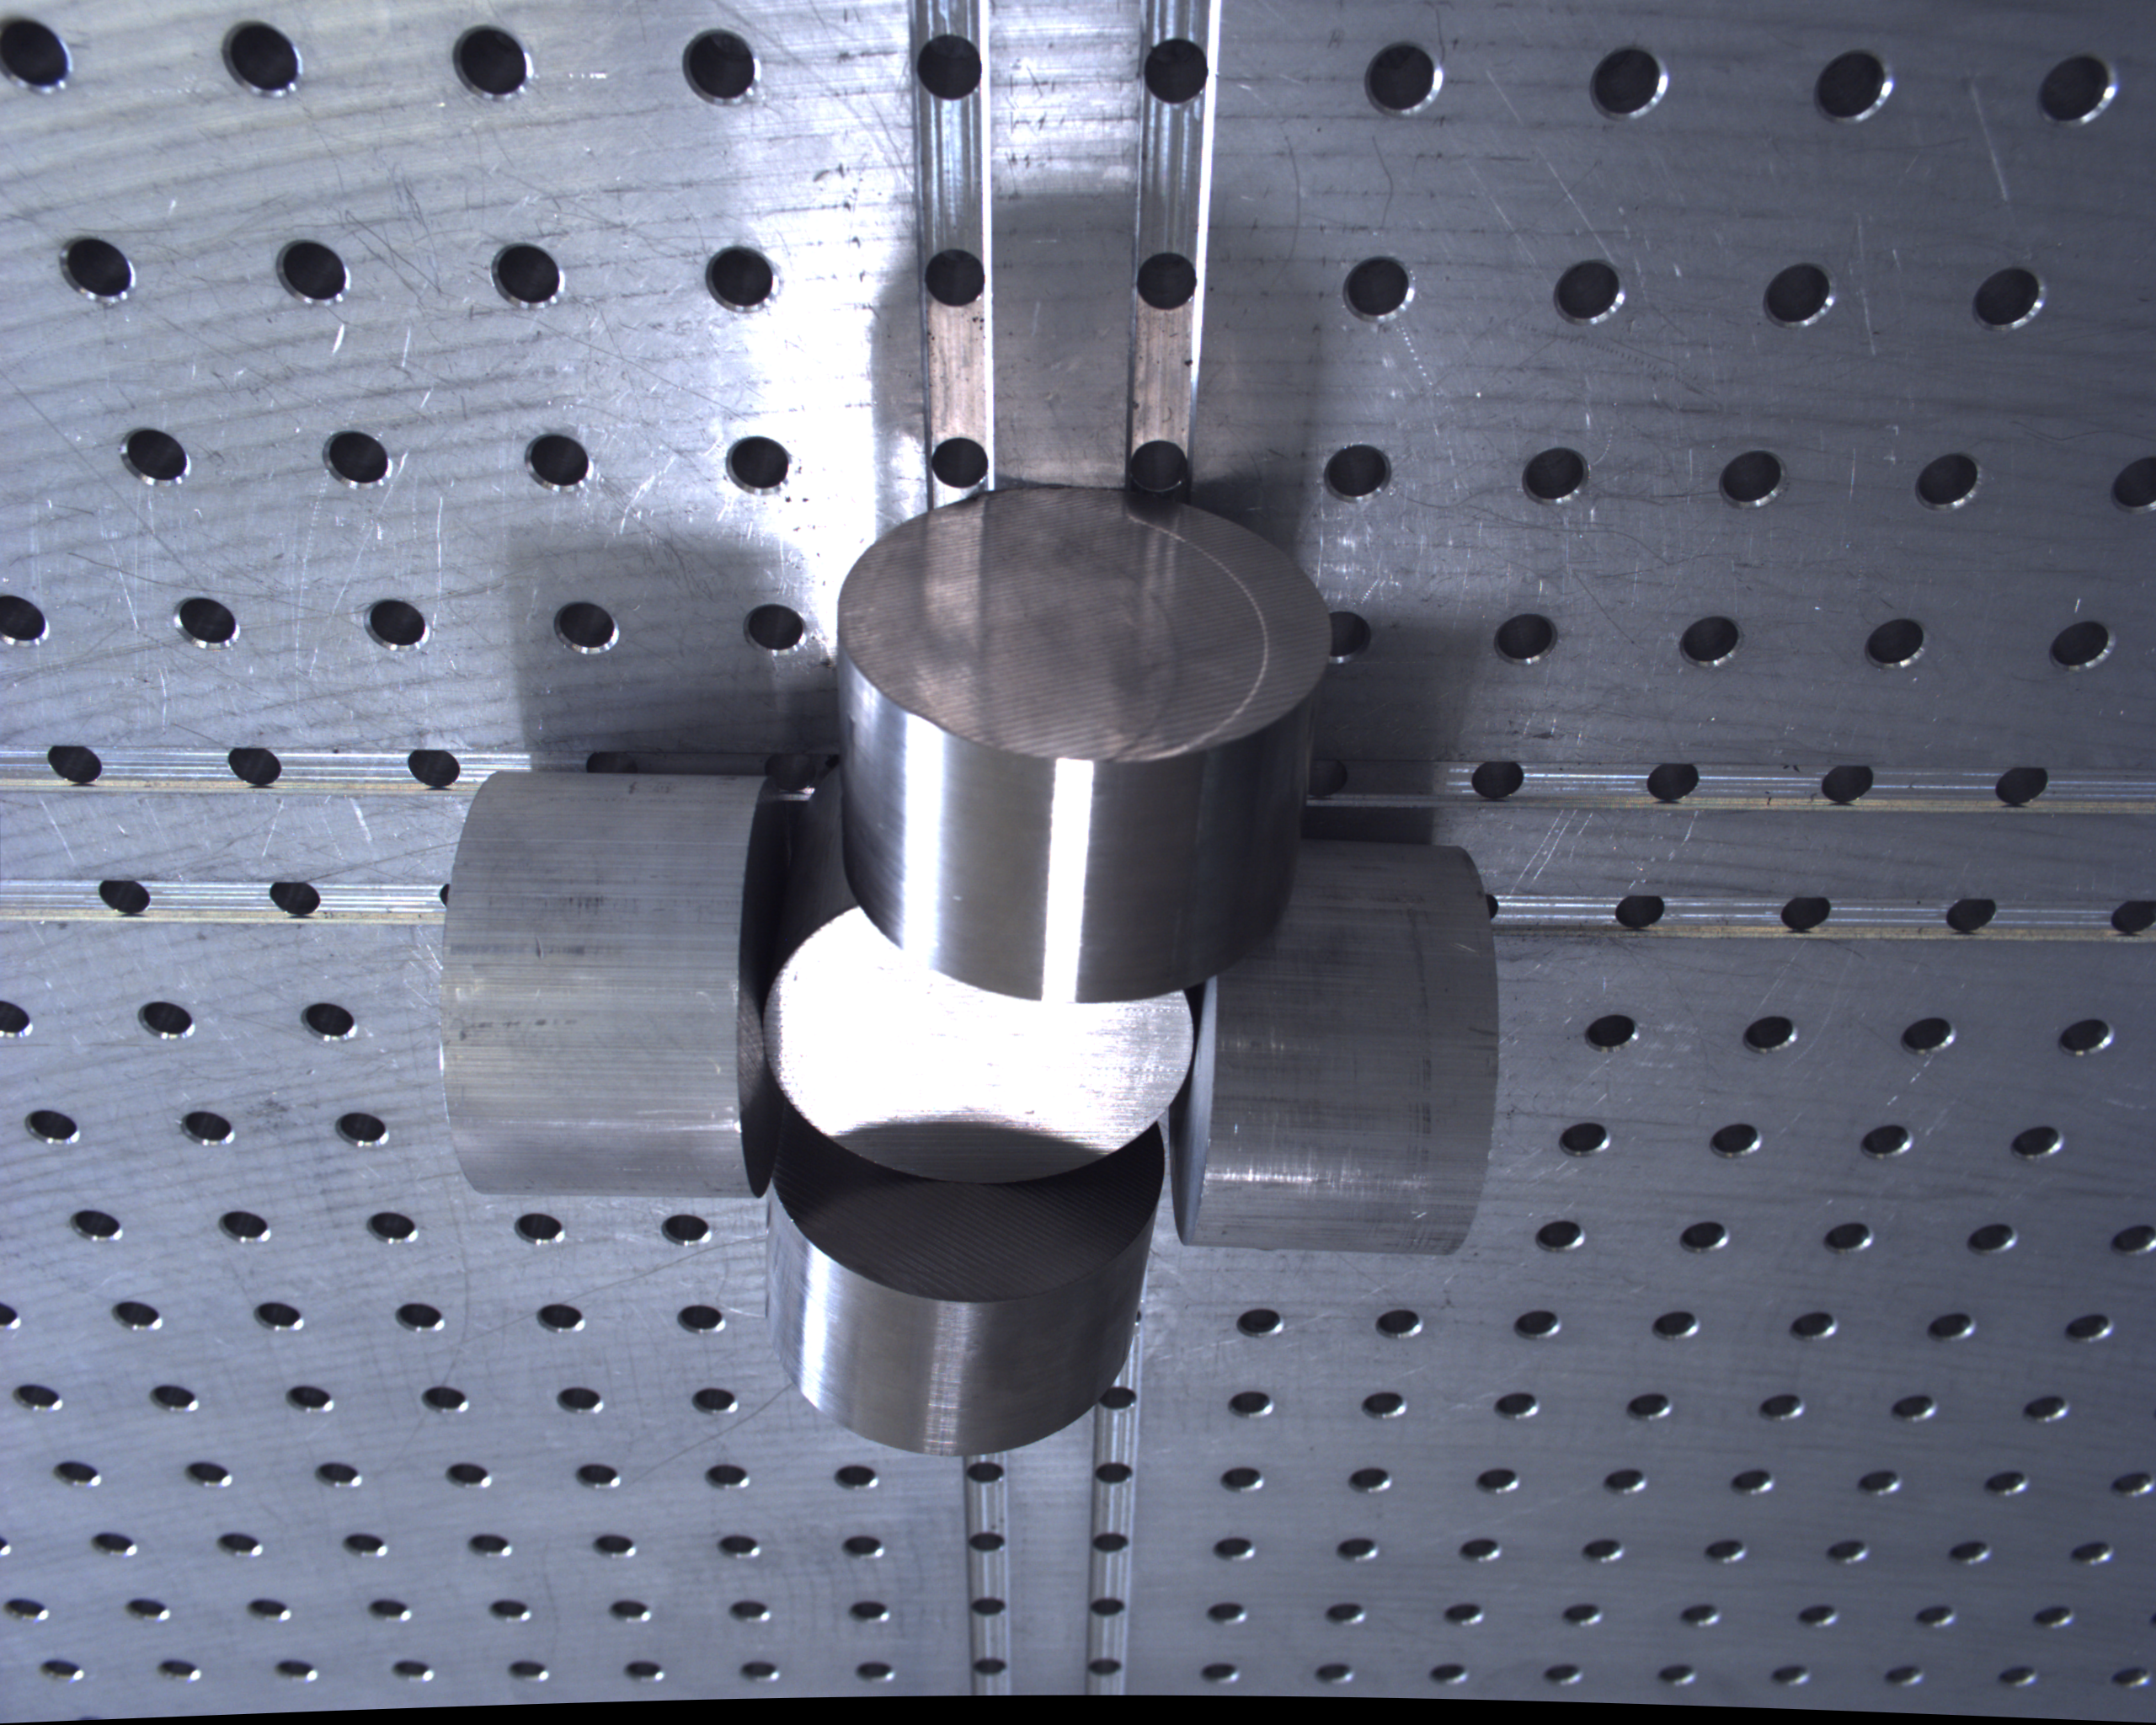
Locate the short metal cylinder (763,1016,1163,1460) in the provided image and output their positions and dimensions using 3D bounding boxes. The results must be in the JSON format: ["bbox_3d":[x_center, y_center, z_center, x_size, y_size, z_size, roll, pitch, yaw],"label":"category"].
[{"bbox_3d":[-0.025,0.077,0.439,0.081,0.080,0.050,5,130,-4],"label":"short metal cylinder"}]

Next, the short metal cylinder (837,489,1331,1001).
[{"bbox_3d":[0.000,-0.022,0.356,0.081,0.080,0.050,2,130,-2],"label":"short metal cylinder"}]

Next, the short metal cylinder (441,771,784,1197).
[{"bbox_3d":[-0.084,0.023,0.394,0.050,0.080,0.079,1,130,-2],"label":"short metal cylinder"}]

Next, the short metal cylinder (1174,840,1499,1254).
[{"bbox_3d":[0.047,0.035,0.406,0.050,0.080,0.079,3,130,-3],"label":"short metal cylinder"}]

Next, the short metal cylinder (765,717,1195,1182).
[{"bbox_3d":[-0.019,0.017,0.410,0.081,0.050,0.079,-1,130,-1],"label":"short metal cylinder"}]
